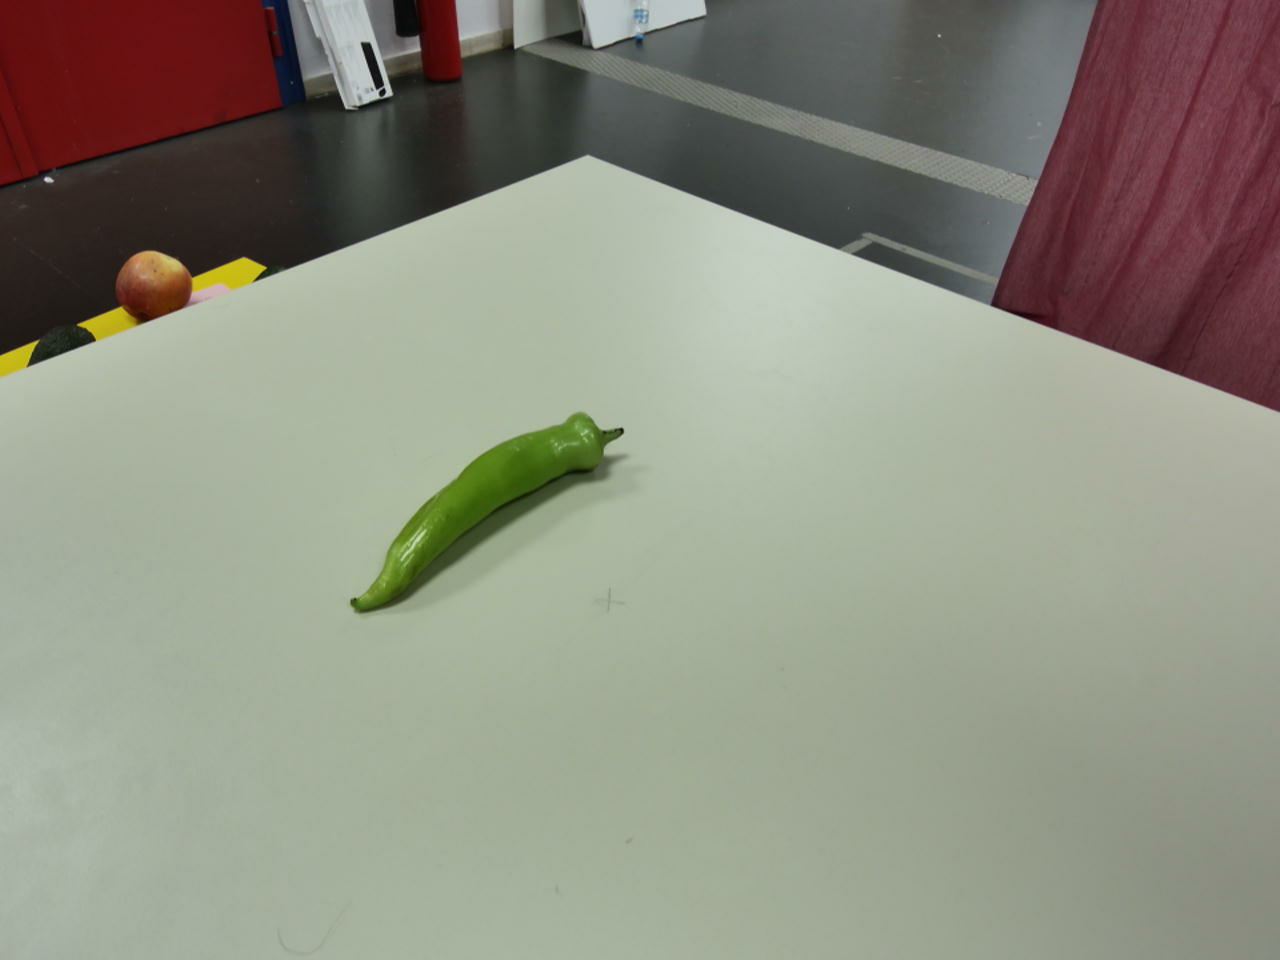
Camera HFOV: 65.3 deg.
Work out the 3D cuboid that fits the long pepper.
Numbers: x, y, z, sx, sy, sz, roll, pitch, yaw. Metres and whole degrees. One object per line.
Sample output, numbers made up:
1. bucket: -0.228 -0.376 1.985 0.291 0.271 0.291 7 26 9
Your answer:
1. long pepper: -0.088 0.008 0.570 0.047 0.038 0.197 31 46 32
